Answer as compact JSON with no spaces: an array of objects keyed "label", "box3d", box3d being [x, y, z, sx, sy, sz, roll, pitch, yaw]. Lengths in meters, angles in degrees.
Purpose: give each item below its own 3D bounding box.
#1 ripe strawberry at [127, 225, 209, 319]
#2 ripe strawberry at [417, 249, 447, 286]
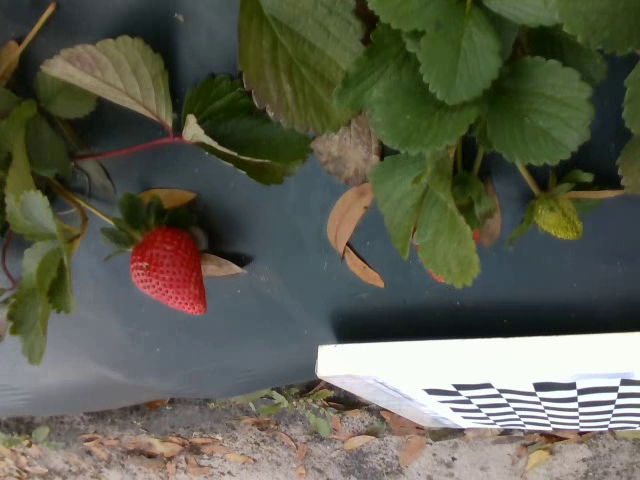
[{"label":"ripe strawberry","box3d":[-0.083,0.024,0.368,0.042,0.065,0.047,-41,-25,1]},{"label":"ripe strawberry","box3d":[0.062,0.008,0.318,0.040,0.042,0.037,-3,20,11]}]
